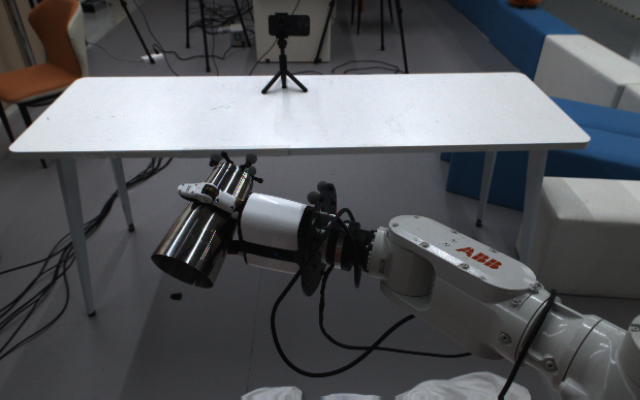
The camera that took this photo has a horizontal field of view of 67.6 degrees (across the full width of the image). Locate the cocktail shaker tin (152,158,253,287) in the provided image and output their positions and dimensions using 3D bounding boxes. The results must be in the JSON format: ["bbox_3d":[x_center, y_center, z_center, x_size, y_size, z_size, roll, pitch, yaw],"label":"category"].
[{"bbox_3d":[-0.163,0.030,0.701,0.093,0.093,0.170,13,58,16],"label":"cocktail shaker tin"}]
